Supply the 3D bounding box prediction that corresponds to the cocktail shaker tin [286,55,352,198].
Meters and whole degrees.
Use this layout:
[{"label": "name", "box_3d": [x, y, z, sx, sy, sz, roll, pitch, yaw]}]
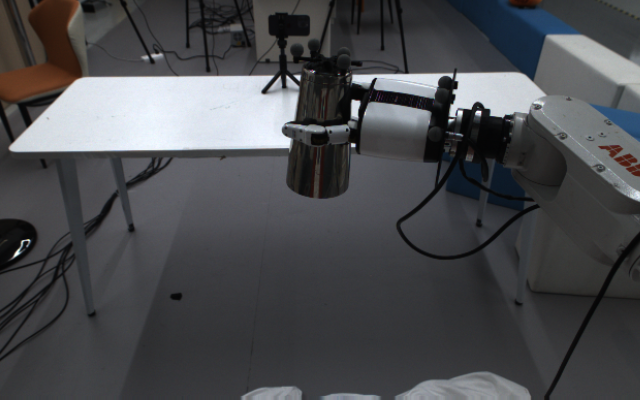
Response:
[{"label": "cocktail shaker tin", "box_3d": [0.003, -0.099, 0.665, 0.093, 0.170, 0.093, 4, 32, -2]}]
